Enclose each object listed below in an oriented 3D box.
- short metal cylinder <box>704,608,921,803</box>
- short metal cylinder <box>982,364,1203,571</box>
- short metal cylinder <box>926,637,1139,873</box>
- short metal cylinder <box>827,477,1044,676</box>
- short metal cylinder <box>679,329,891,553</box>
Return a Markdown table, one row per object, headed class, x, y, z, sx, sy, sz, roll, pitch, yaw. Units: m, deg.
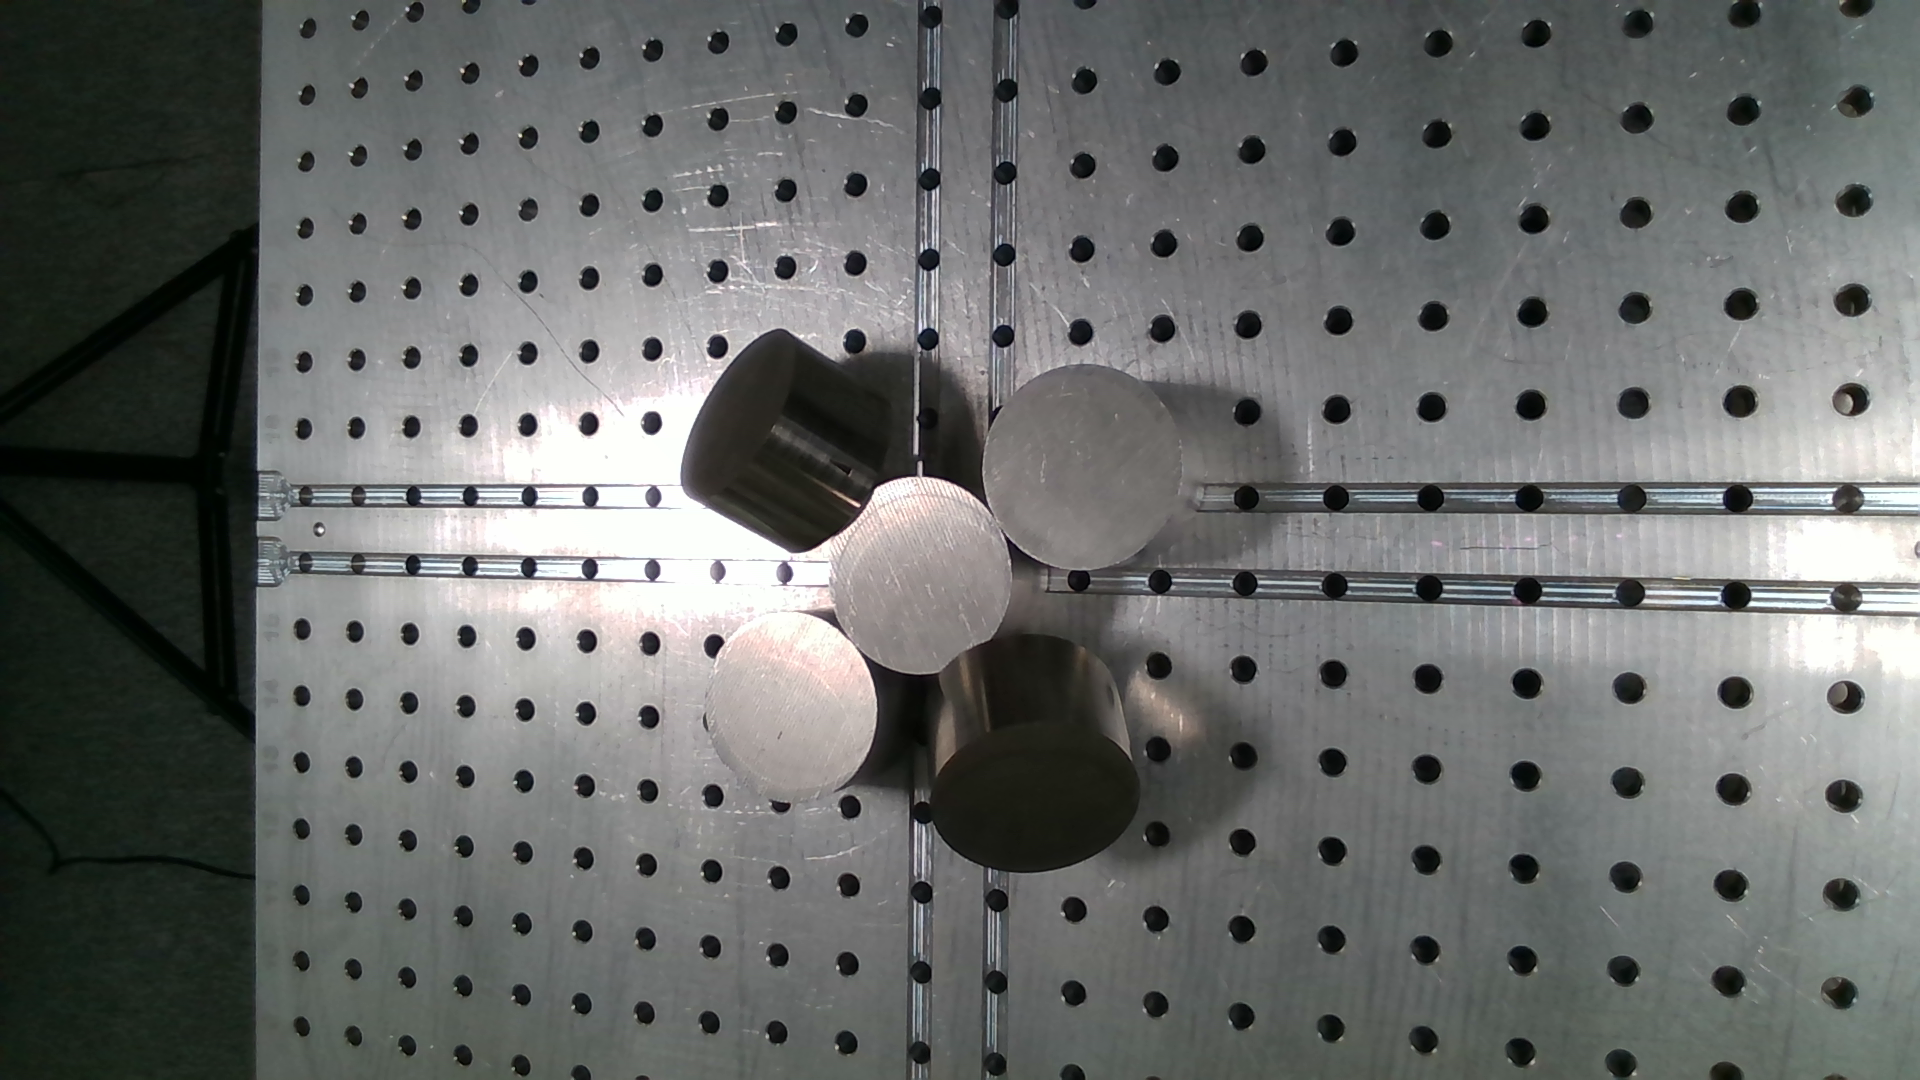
| class | x | y | z | sx | sy | sz | roll | pitch | yaw |
| --- | --- | --- | --- | --- | --- | --- | --- | --- | --- |
| short metal cylinder | -0.063 | 0.070 | 0.599 | 0.080 | 0.050 | 0.080 | 0 | 90 | 20 |
| short metal cylinder | 0.055 | -0.028 | 0.554 | 0.080 | 0.050 | 0.080 | 0 | 90 | 20 |
| short metal cylinder | 0.027 | 0.085 | 0.544 | 0.080 | 0.050 | 0.080 | -2 | 125 | -3 |
| short metal cylinder | -0.009 | 0.015 | 0.578 | 0.080 | 0.050 | 0.080 | 0 | 90 | 20 |
| short metal cylinder | -0.074 | -0.041 | 0.580 | 0.080 | 0.050 | 0.080 | -34 | 40 | 35 |
